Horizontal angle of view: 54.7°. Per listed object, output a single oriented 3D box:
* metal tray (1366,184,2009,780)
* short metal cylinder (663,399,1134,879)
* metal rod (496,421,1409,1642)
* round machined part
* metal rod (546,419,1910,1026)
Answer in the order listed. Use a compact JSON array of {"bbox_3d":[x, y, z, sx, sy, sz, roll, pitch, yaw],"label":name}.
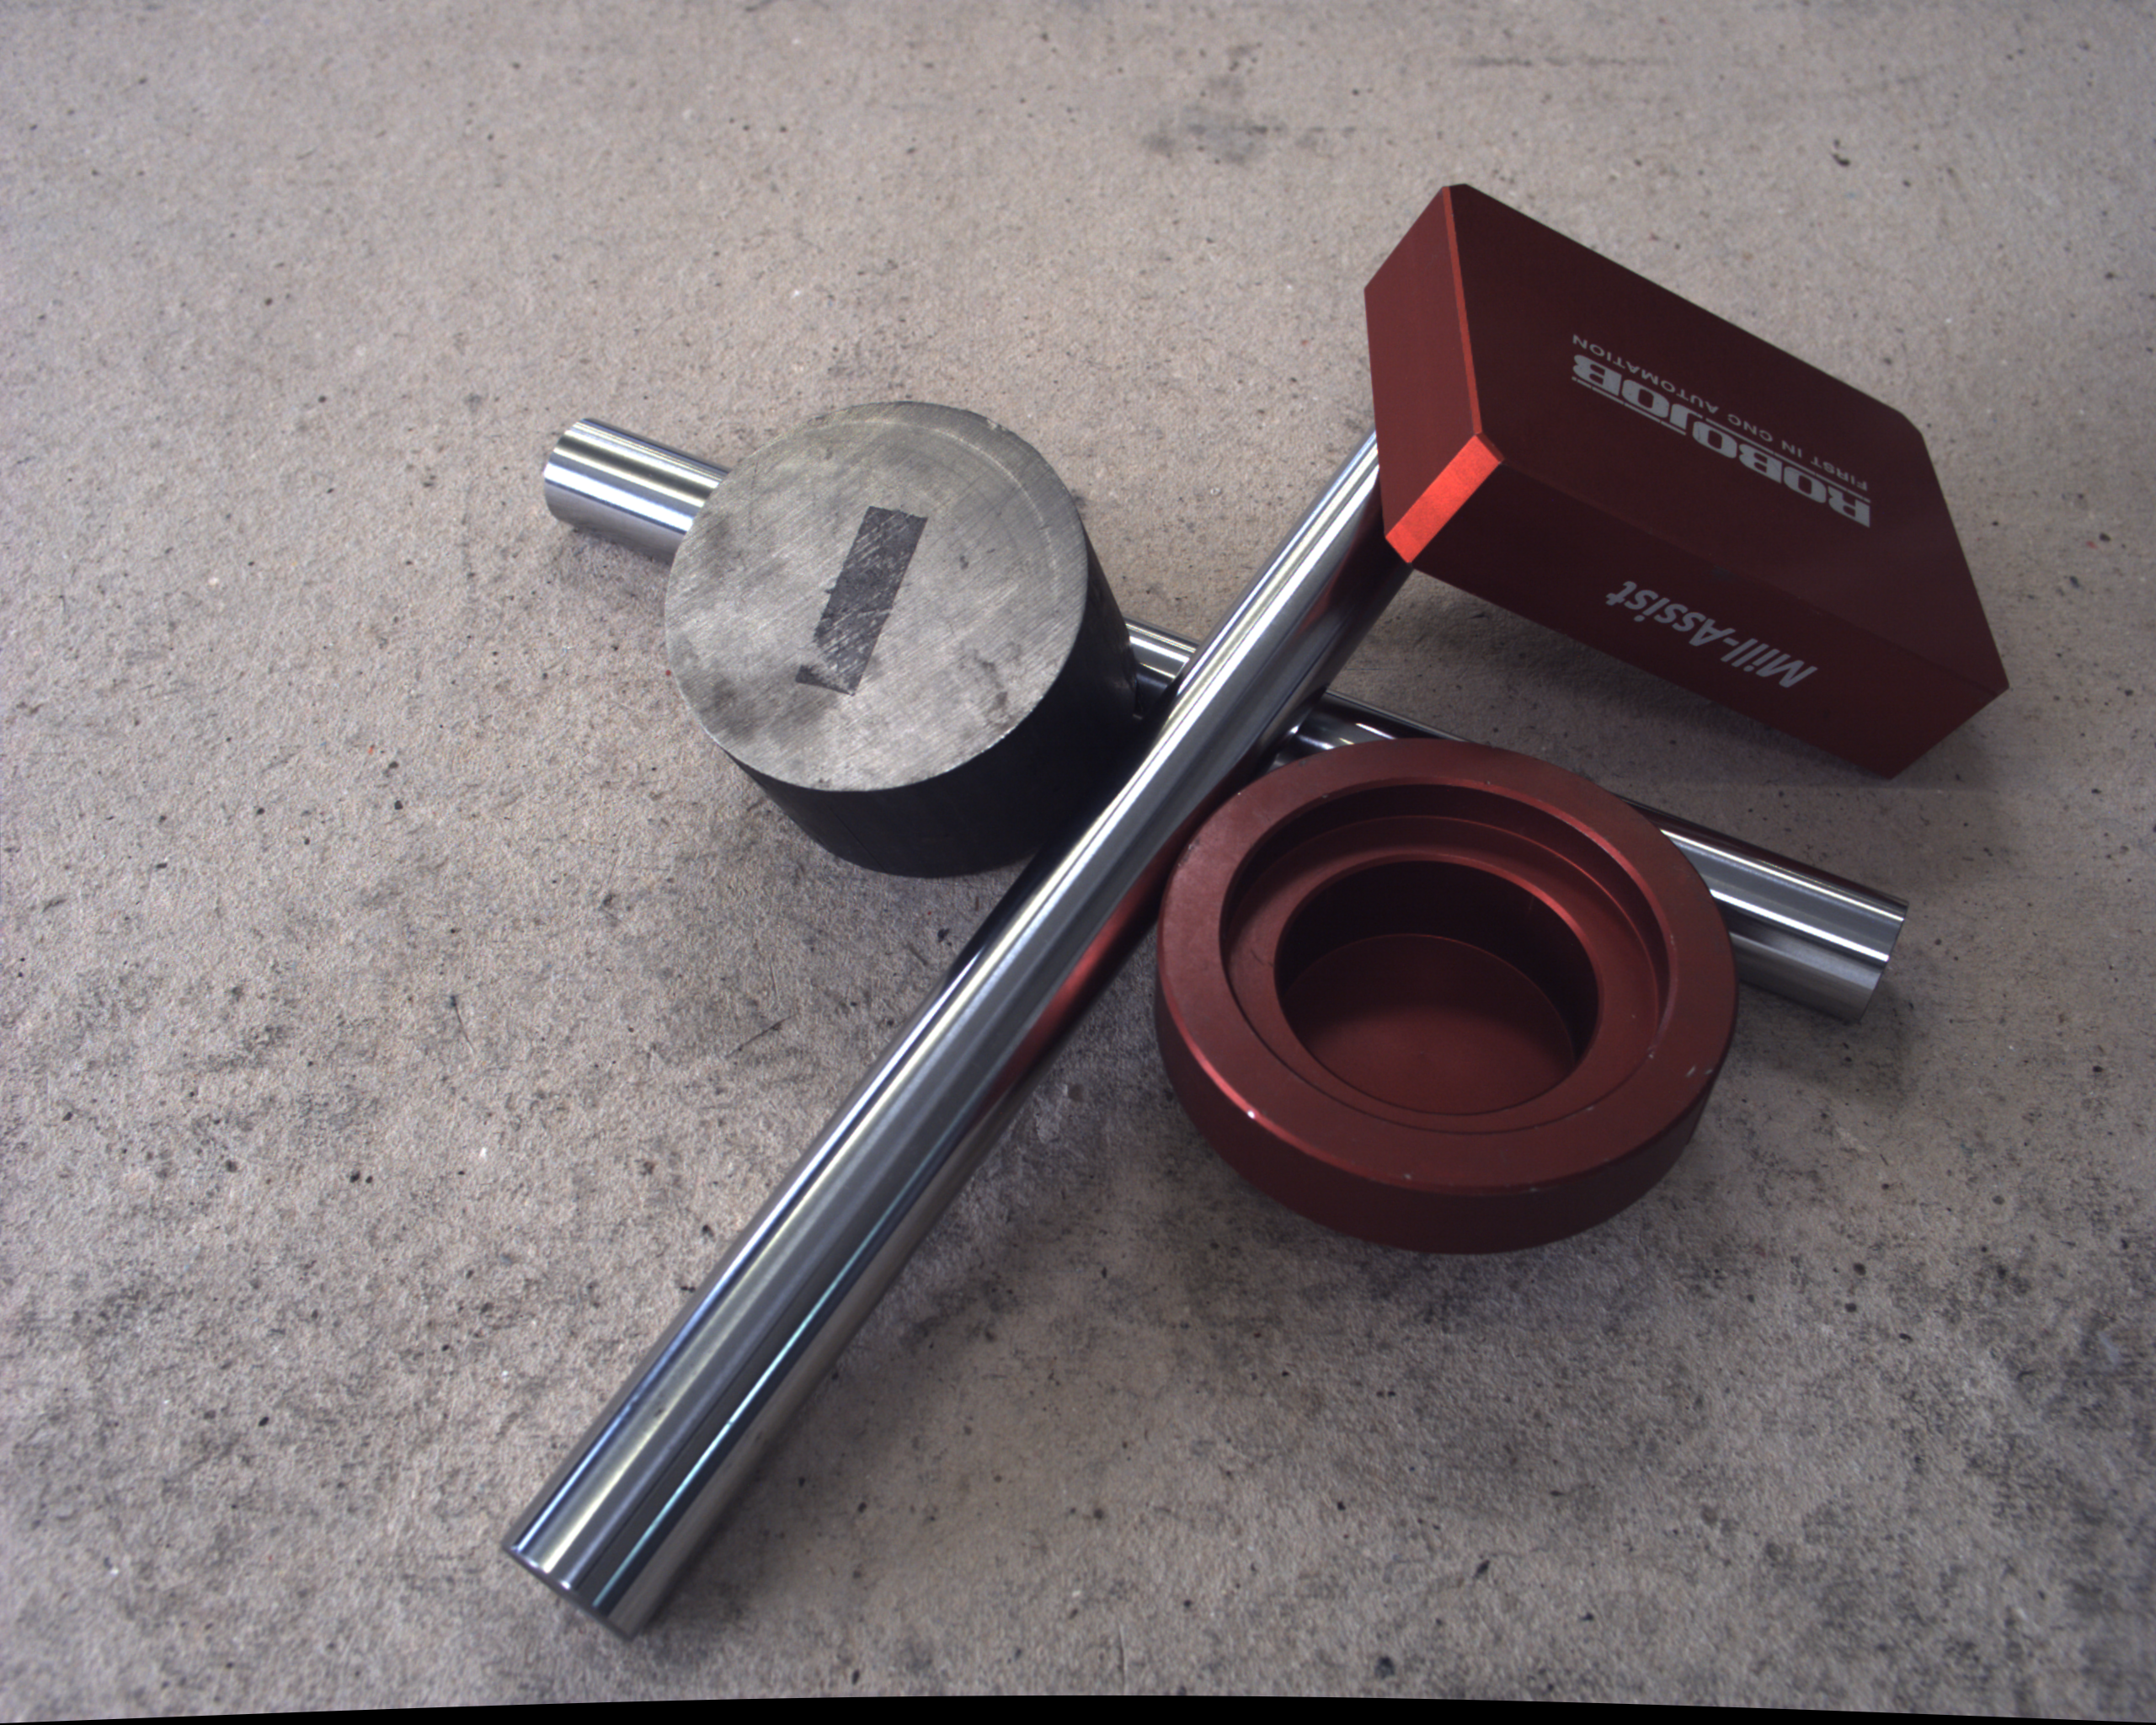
[{"bbox_3d":[0.124,-0.079,0.432,0.131,0.030,0.090,20,47,-20],"label":"metal tray"},{"bbox_3d":[-0.033,-0.042,0.407,0.080,0.050,0.080,-4,70,11],"label":"short metal cylinder"},{"bbox_3d":[0.005,0.003,0.380,0.025,0.025,0.301,27,61,20],"label":"metal rod"},{"bbox_3d":[0.063,0.027,0.371,0.099,0.042,0.098,0,50,0],"label":"round machined part"},{"bbox_3d":[0.018,-0.035,0.436,0.301,0.025,0.025,22,54,17],"label":"metal rod"}]
